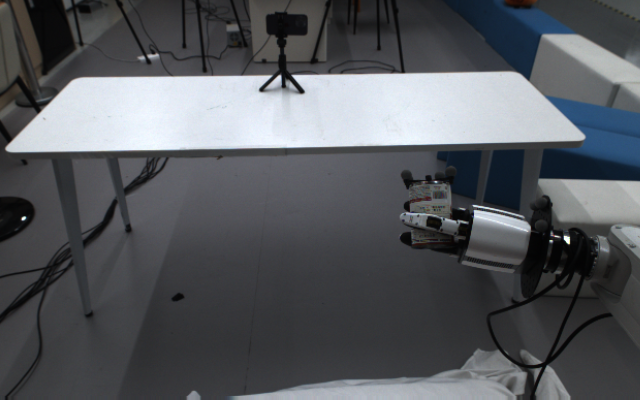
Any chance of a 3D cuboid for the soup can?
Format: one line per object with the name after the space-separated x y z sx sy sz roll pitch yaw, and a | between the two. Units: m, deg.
0.178 0.025 0.769 0.067 0.101 0.067 -1 -9 0 | soup can
